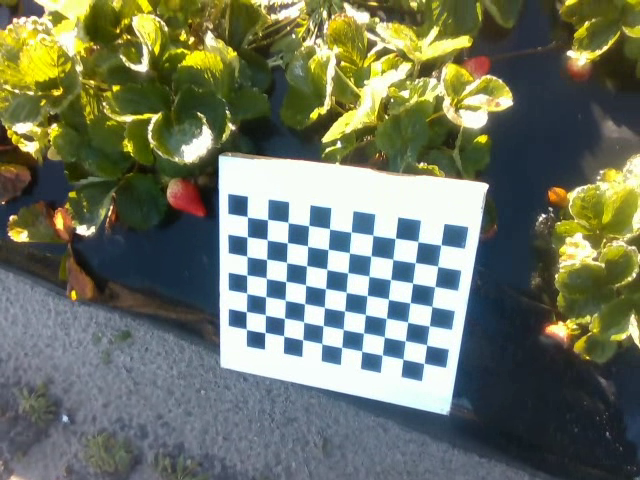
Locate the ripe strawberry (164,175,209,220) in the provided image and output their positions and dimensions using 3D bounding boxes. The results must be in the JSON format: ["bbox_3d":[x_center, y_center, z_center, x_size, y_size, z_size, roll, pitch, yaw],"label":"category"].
[{"bbox_3d":[-0.171,-0.048,0.783,0.040,0.065,0.040,-42,4,23],"label":"ripe strawberry"}]
